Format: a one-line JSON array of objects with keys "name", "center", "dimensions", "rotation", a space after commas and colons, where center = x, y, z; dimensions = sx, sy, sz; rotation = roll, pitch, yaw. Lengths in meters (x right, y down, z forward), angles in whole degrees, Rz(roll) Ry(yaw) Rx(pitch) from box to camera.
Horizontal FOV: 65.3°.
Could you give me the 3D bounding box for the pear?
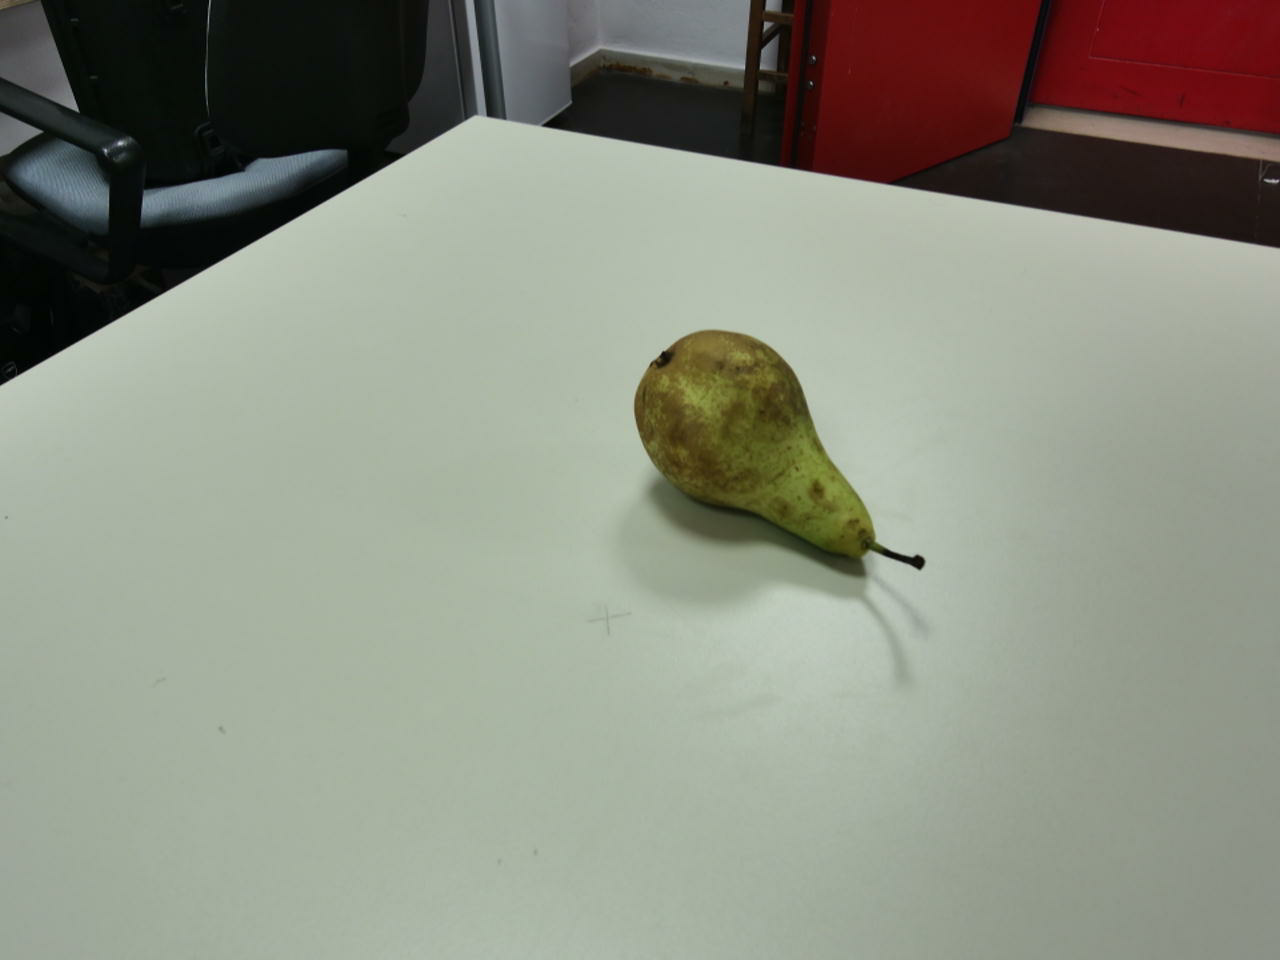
[{"name": "pear", "center": [0.063, -0.016, 0.417], "dimensions": [0.144, 0.075, 0.071], "rotation": [22, 43, 27]}]
